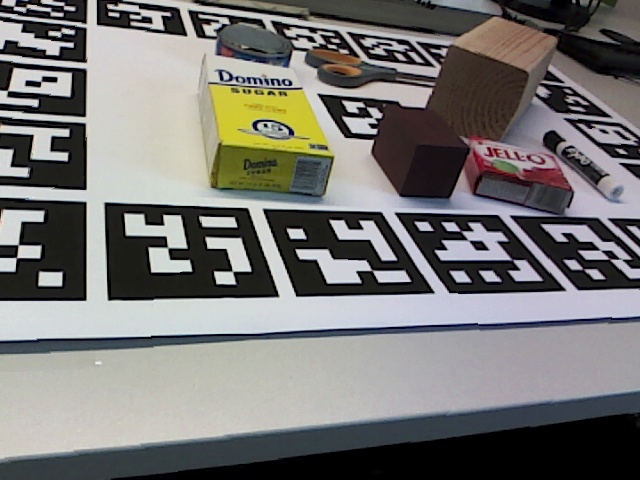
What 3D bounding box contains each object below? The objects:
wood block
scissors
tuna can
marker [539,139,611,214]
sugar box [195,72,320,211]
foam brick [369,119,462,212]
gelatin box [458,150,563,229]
[{"bbox_3d":[0.209,-0.181,0.741,0.090,0.091,0.205,26,37,16],"label":"wood block"},{"bbox_3d":[0.075,-0.195,0.769,0.202,0.016,0.088,3,38,-12],"label":"scissors"},{"bbox_3d":[-0.083,-0.200,0.698,0.085,0.034,0.086,10,37,-8],"label":"tuna can"},{"bbox_3d":[0.273,-0.073,0.672,0.019,0.019,0.122,1,40,-19],"label":"marker"},{"bbox_3d":[-0.063,-0.095,0.564,0.092,0.045,0.177,4,38,-17],"label":"sugar box"},{"bbox_3d":[0.085,-0.068,0.567,0.052,0.051,0.078,1,39,-18],"label":"foam brick"},{"bbox_3d":[0.182,-0.051,0.604,0.089,0.030,0.073,12,37,-4],"label":"gelatin box"}]
